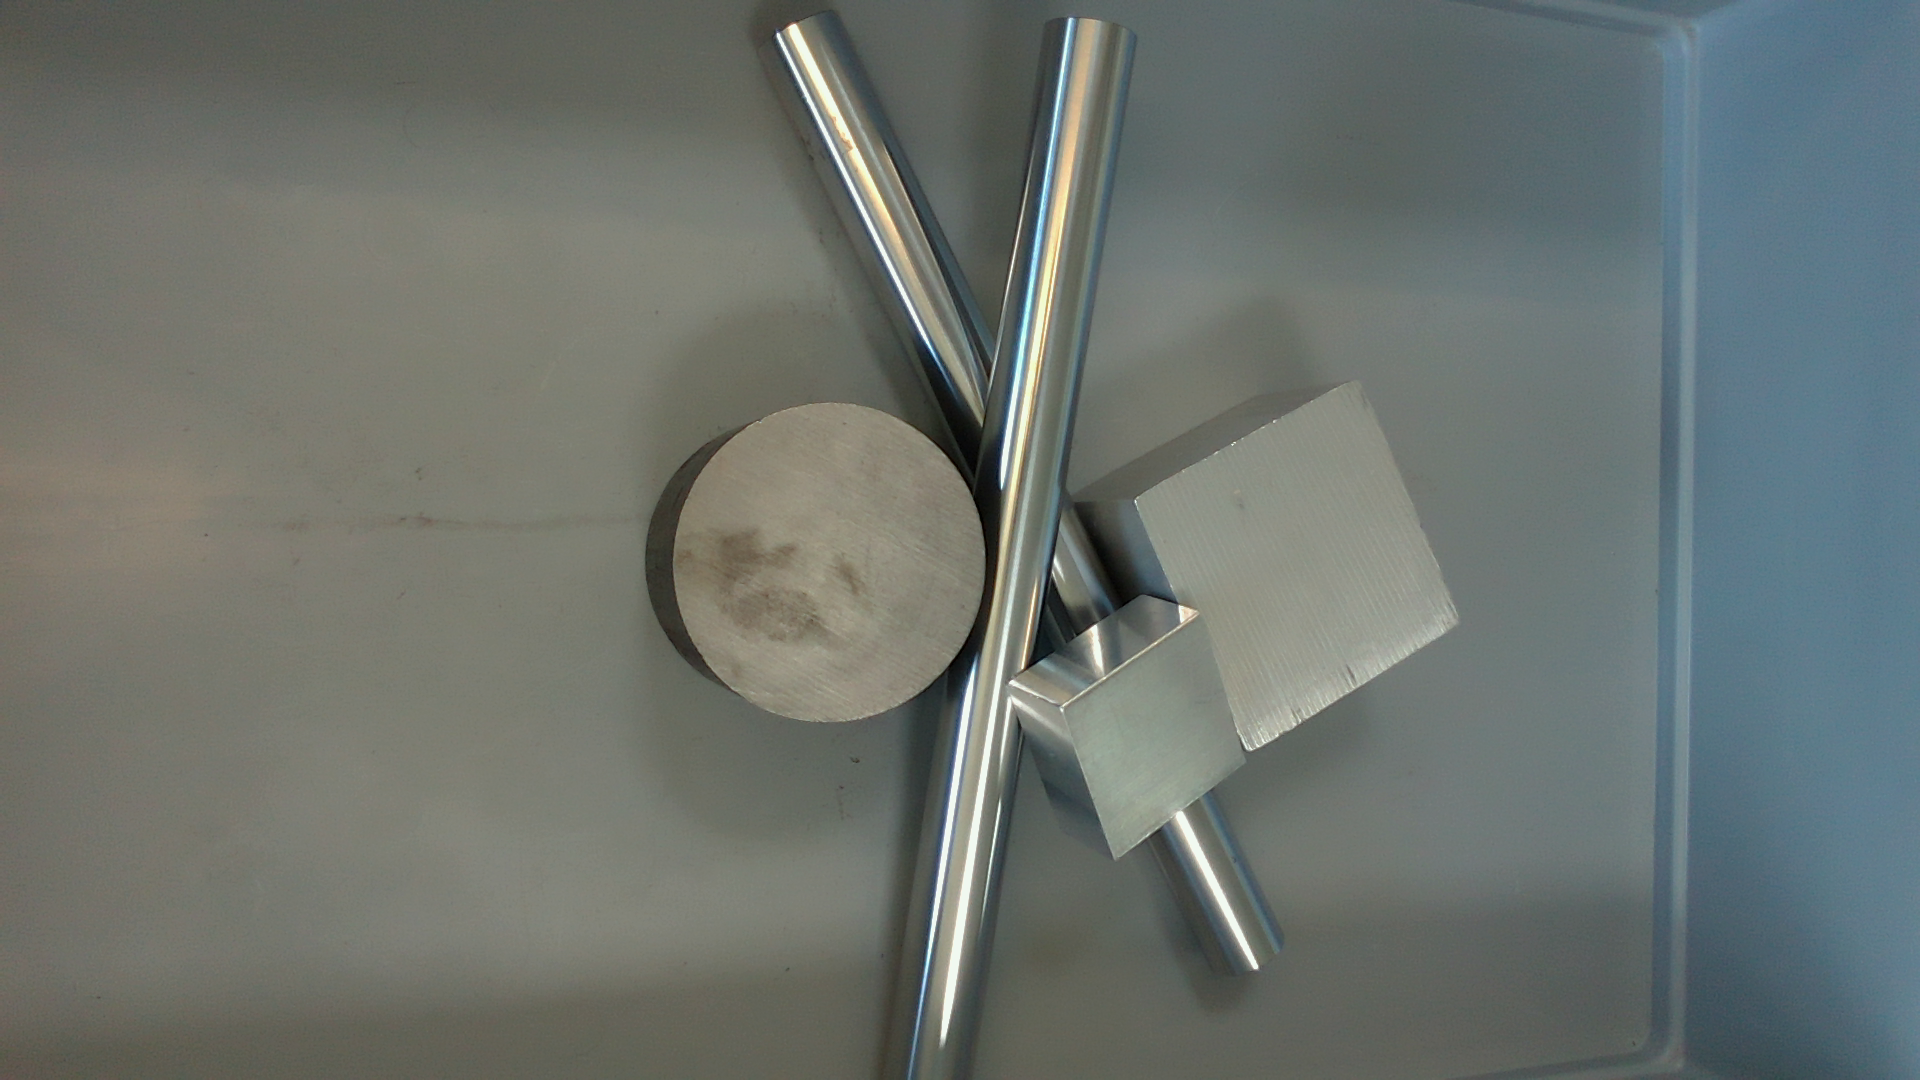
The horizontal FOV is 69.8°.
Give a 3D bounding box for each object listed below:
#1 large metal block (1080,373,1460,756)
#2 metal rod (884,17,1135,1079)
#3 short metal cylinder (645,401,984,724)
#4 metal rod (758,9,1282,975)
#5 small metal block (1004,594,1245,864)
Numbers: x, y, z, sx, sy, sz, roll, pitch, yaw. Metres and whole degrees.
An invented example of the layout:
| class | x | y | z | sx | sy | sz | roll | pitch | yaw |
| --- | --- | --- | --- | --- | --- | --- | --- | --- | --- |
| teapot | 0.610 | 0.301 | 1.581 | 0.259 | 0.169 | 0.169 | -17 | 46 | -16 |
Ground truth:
| class | x | y | z | sx | sy | sz | roll | pitch | yaw |
| --- | --- | --- | --- | --- | --- | --- | --- | --- | --- |
| large metal block | 0.088 | 0.006 | 0.411 | 0.080 | 0.050 | 0.080 | -29 | 100 | -18 |
| metal rod | 0.012 | 0.014 | 0.376 | 0.025 | 0.025 | 0.300 | 7 | 96 | -20 |
| short metal cylinder | -0.040 | 0.005 | 0.365 | 0.080 | 0.050 | 0.080 | 0 | 90 | -20 |
| metal rod | 0.022 | -0.006 | 0.400 | 0.025 | 0.025 | 0.300 | -30 | 100 | -17 |
| small metal block | 0.046 | 0.050 | 0.375 | 0.050 | 0.025 | 0.050 | -31 | 115 | -25 |
